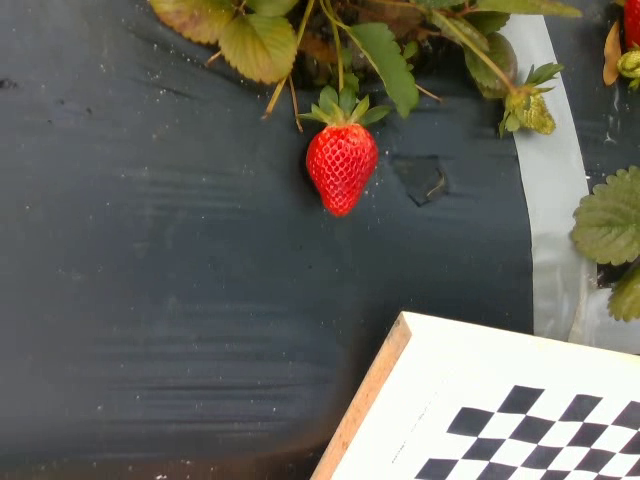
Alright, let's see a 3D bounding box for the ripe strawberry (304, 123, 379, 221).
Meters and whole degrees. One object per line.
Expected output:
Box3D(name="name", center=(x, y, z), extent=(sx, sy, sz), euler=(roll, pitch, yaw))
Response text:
Box3D(name="ripe strawberry", center=(0.011, -0.033, 0.243), extent=(0.036, 0.046, 0.040), euler=(5, -14, -1))
